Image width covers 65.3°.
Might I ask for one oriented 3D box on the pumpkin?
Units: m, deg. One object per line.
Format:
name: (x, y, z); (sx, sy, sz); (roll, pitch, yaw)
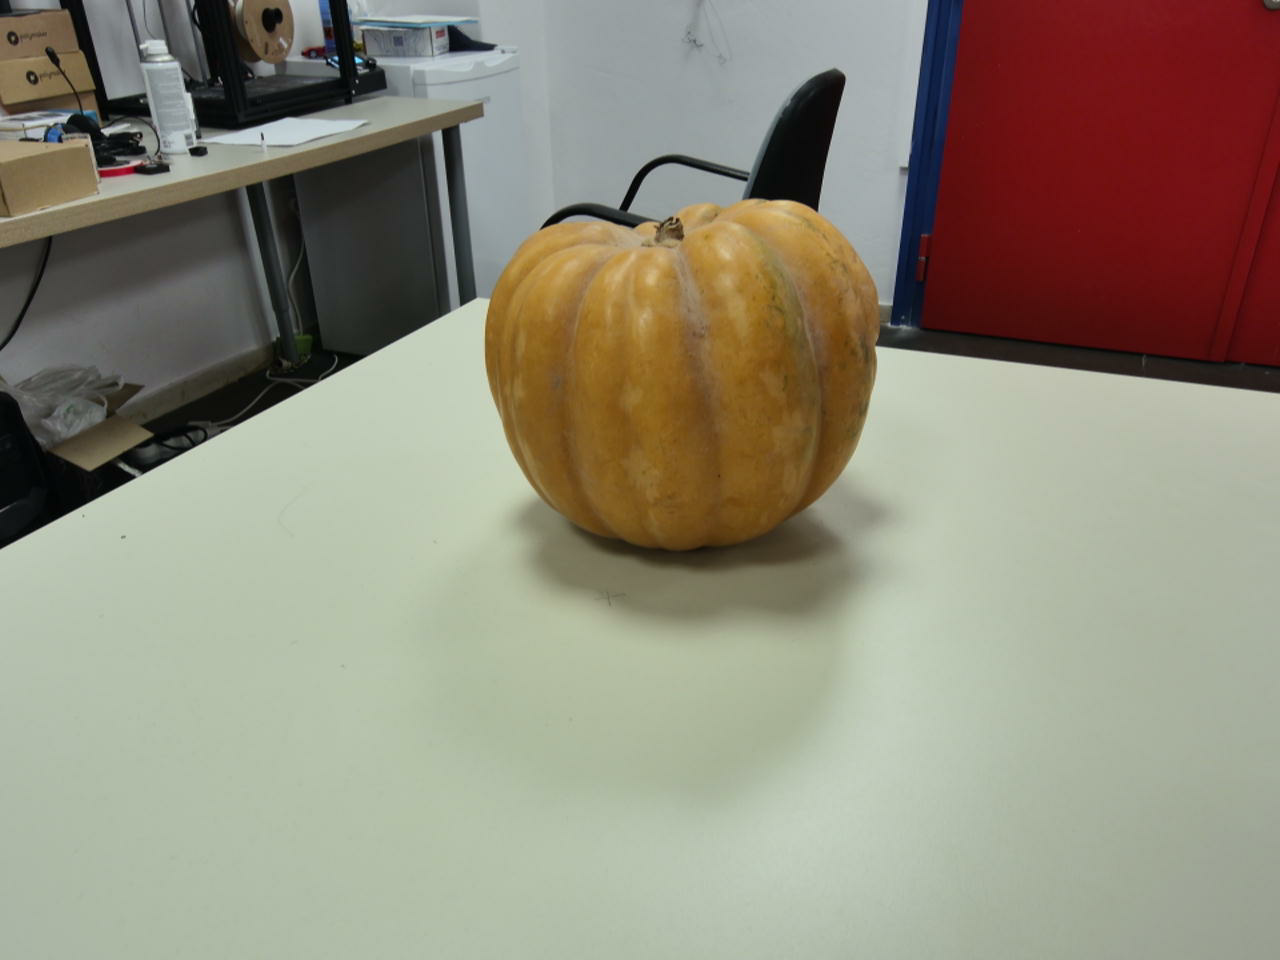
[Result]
pumpkin: (0.026, -0.063, 0.581); (0.230, 0.194, 0.230); (0, 26, 0)
